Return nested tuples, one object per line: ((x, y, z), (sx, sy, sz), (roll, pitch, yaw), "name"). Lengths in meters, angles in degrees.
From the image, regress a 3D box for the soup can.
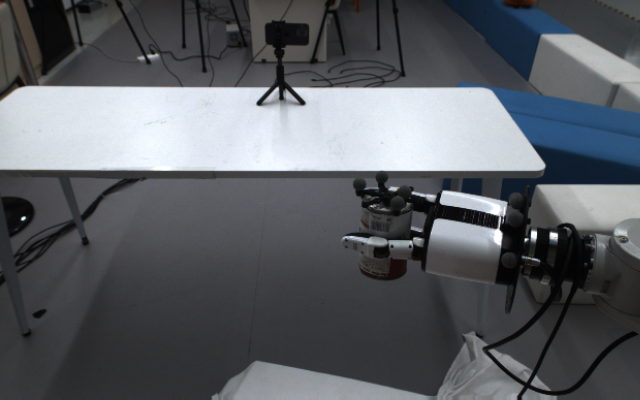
((0.088, 0.046, 0.643), (0.067, 0.101, 0.067), (1, 25, 0), "soup can")
